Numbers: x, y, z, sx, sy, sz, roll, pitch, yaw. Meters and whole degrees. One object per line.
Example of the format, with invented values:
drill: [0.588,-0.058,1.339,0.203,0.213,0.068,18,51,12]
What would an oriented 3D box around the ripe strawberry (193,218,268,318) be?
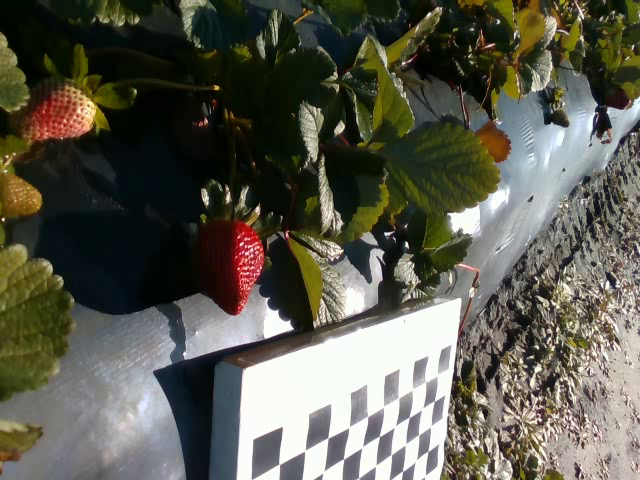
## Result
ripe strawberry: [-0.050,0.016,0.298,0.058,0.066,0.062,-36,45,-7]
